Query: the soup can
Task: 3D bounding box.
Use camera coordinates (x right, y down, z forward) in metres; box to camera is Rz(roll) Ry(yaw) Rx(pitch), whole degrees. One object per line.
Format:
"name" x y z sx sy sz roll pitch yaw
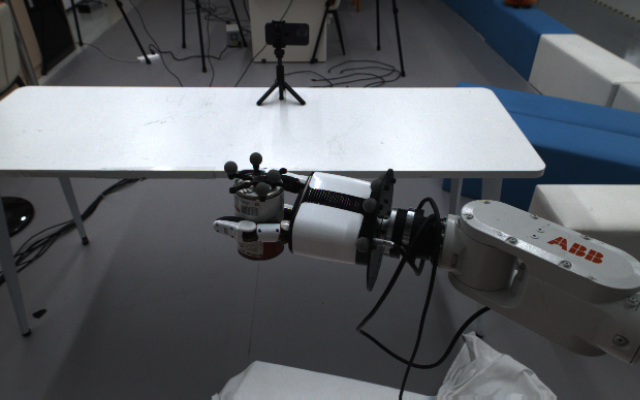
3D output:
"soup can" -0.080 0.023 0.654 0.067 0.101 0.067 2 32 -1
